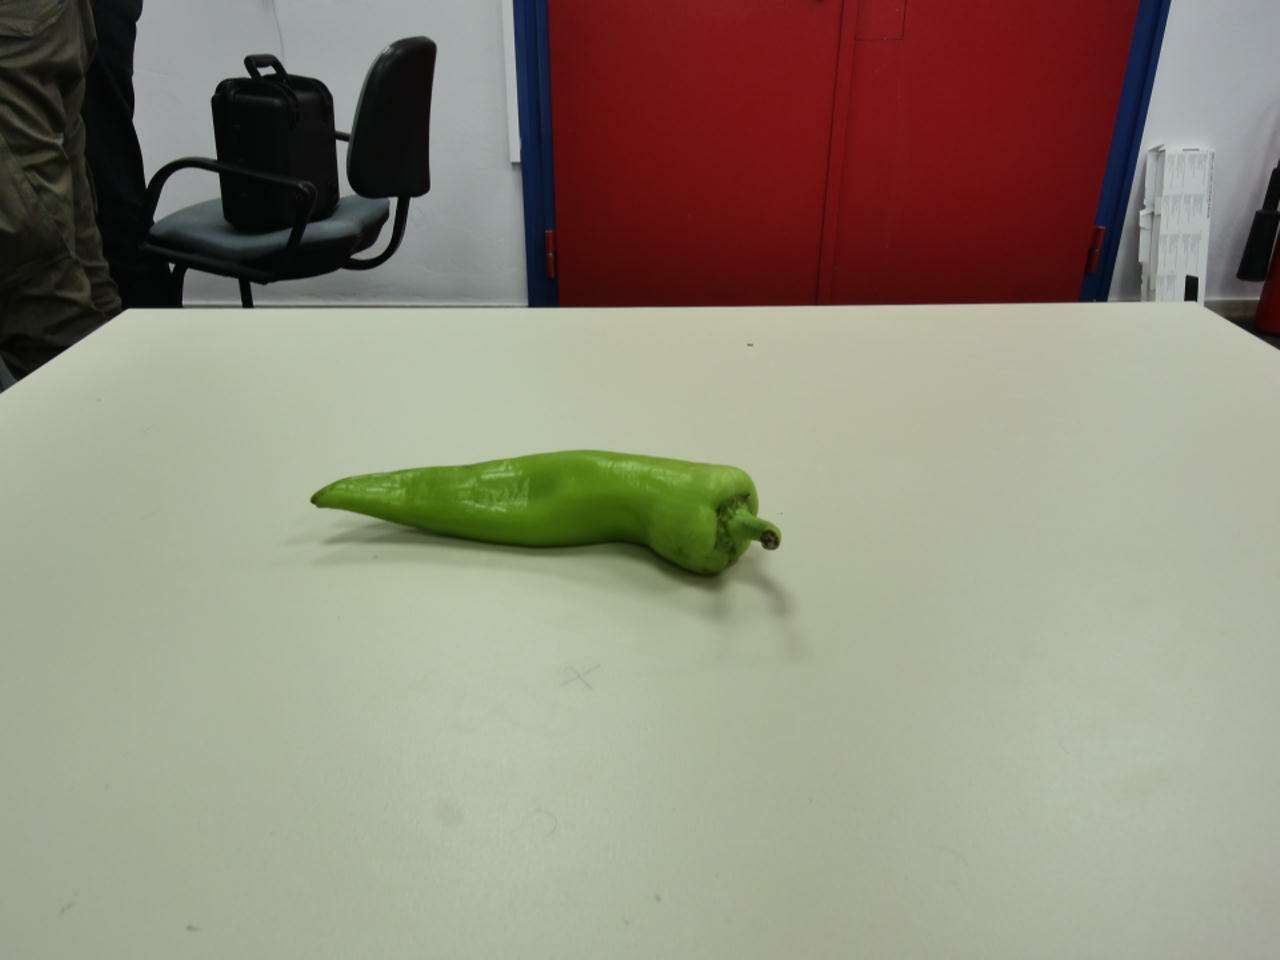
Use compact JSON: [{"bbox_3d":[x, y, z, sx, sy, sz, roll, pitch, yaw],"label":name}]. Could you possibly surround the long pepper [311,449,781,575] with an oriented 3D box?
[{"bbox_3d":[-0.036,0.009,0.431,0.205,0.045,0.065,7,25,15],"label":"long pepper"}]
